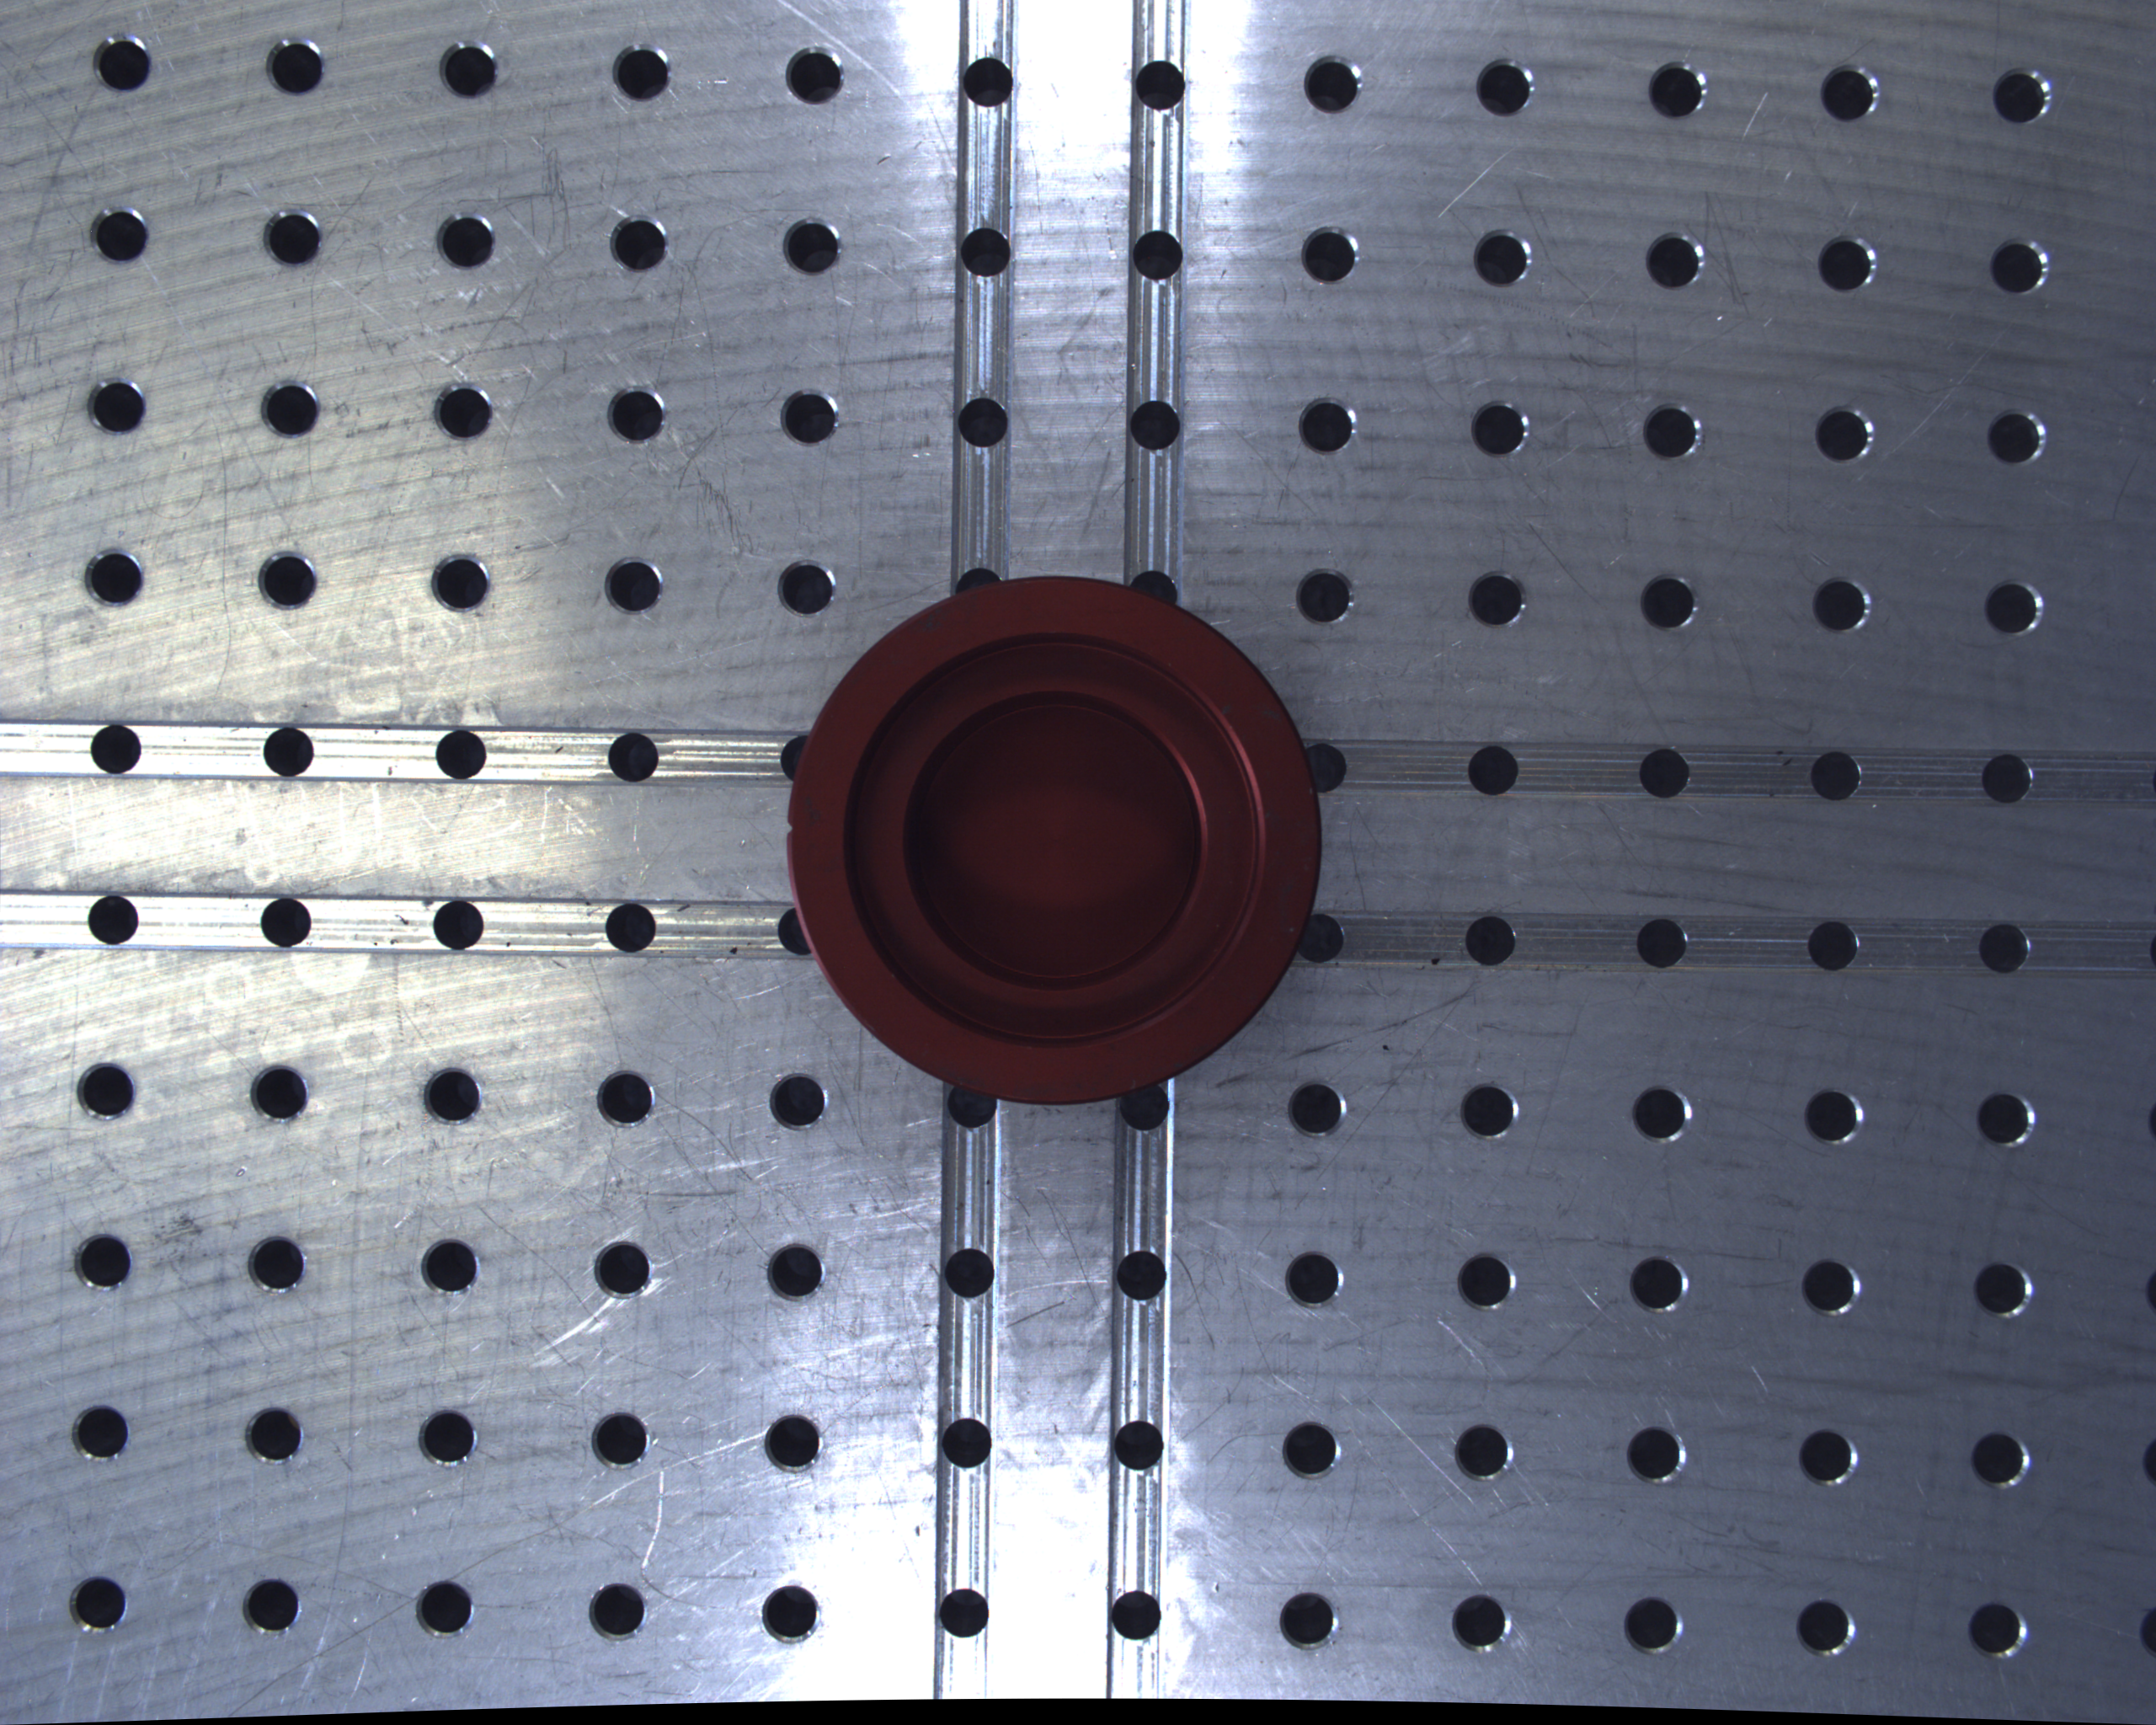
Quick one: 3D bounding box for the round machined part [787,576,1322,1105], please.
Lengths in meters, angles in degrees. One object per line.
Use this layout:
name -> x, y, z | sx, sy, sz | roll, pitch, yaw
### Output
round machined part -> -0.004, -0.004, 0.404 | 0.099, 0.042, 0.097 | 0, 90, 0
